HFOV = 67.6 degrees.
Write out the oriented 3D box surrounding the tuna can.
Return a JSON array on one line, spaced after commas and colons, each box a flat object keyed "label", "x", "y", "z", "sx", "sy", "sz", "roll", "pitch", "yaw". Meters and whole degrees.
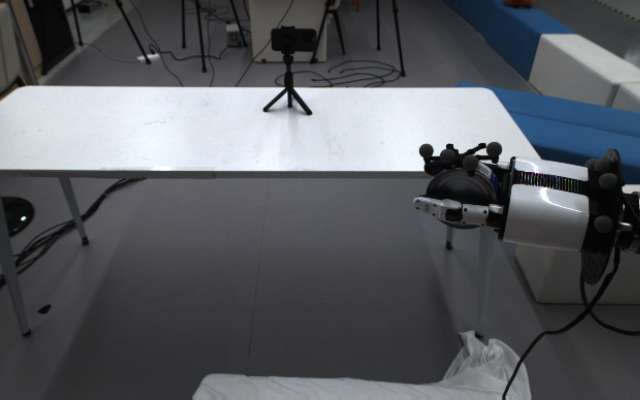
[{"label": "tuna can", "x": 0.180, "y": -0.011, "z": 0.605, "sx": 0.085, "sy": 0.085, "sz": 0.034, "roll": 17, "pitch": 37, "yaw": 20}]
